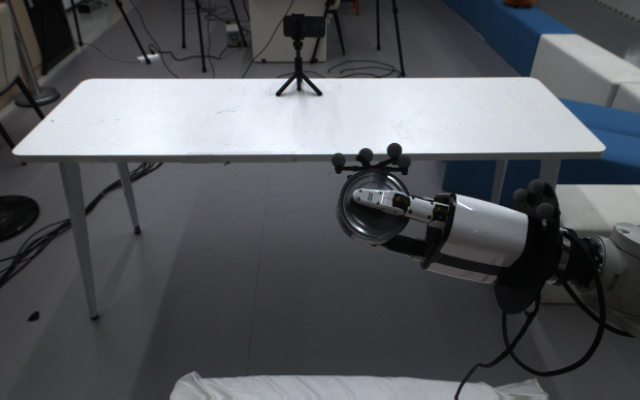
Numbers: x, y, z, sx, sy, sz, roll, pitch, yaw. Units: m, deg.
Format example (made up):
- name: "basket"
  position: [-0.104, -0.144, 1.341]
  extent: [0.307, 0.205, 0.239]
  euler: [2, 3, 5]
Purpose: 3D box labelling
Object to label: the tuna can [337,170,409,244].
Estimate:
- name: "tuna can"
  position: [0.065, 0.007, 0.570]
  extent: [0.085, 0.034, 0.085]
  euler: [1, 73, -4]
